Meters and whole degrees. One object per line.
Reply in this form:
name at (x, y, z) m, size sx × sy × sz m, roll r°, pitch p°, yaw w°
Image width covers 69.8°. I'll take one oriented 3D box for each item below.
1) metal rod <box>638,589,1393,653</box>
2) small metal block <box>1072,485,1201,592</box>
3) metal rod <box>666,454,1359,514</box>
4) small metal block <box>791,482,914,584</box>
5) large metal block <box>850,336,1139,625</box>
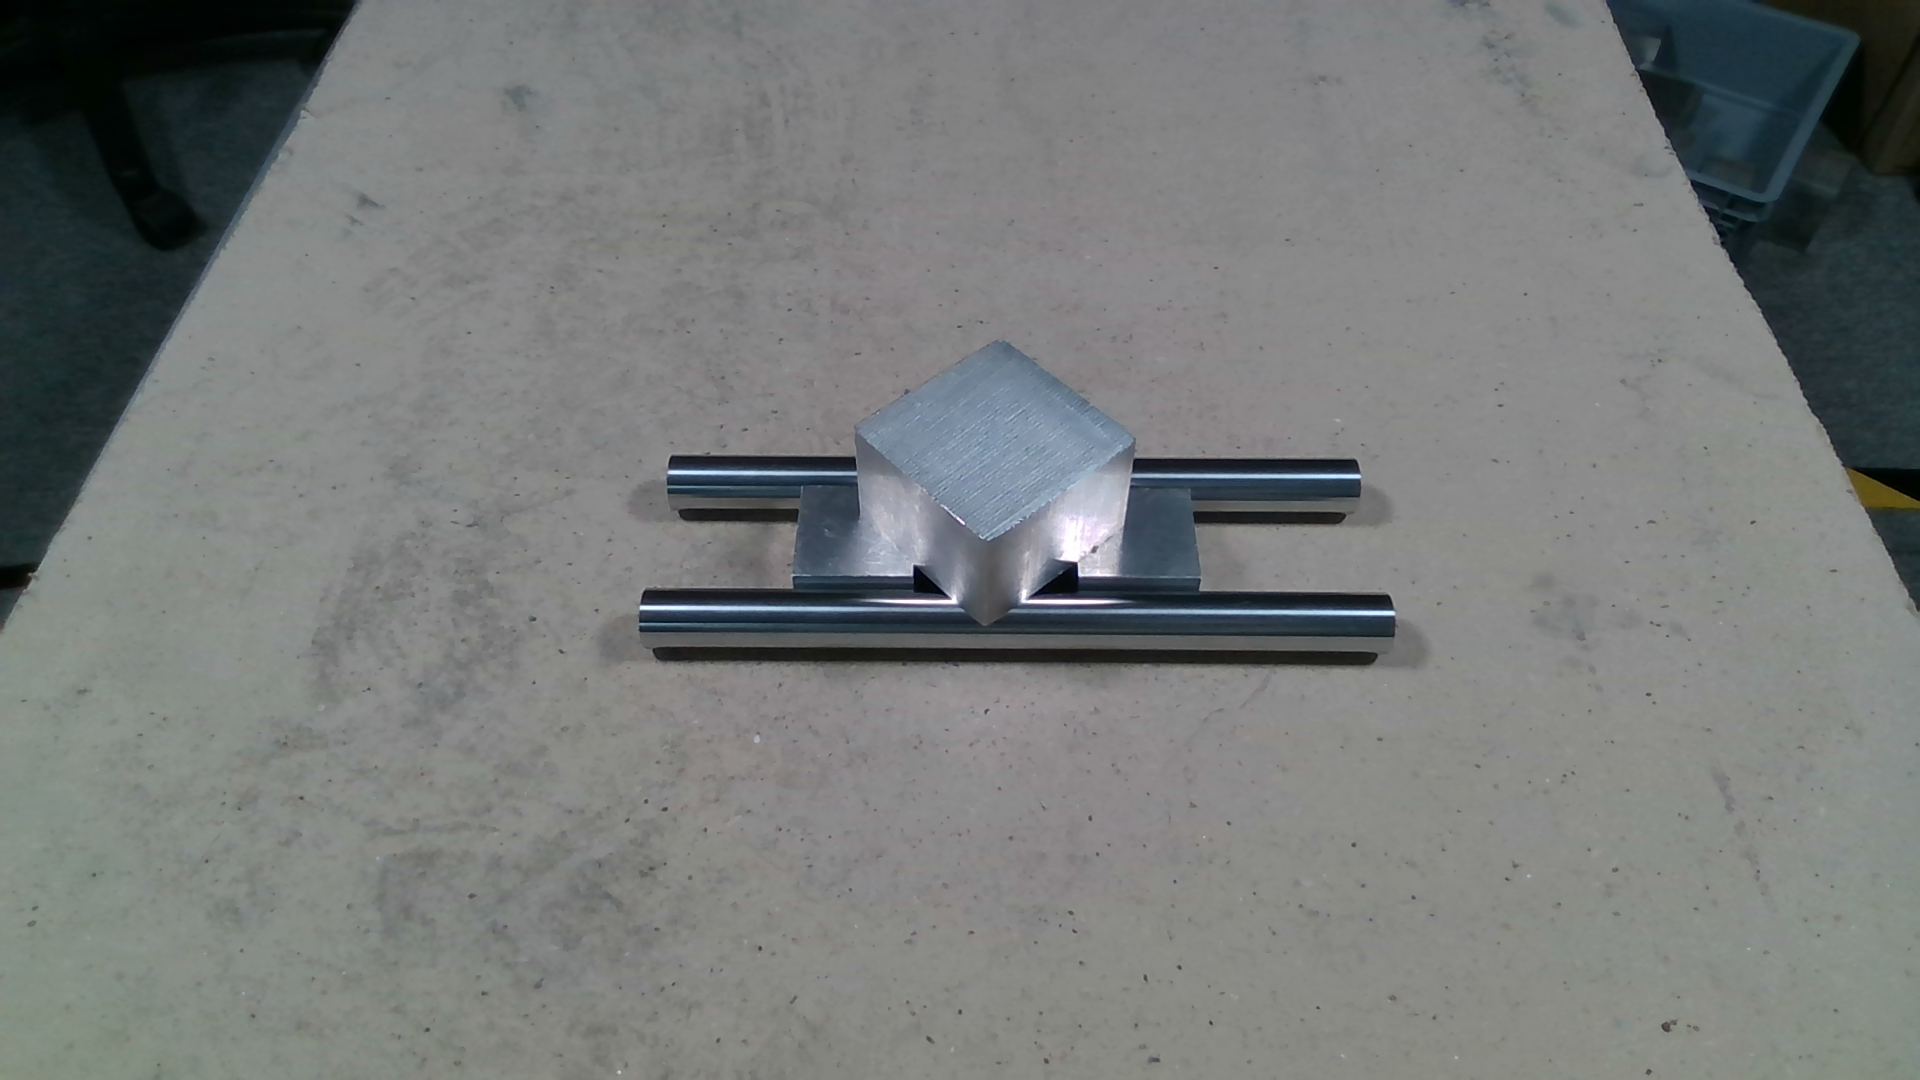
metal rod at (0.022, 0.033, 0.560) m, size 0.300 × 0.025 × 0.025 m, roll 0°, pitch 50°, yaw 0°
small metal block at (0.073, 0.003, 0.583) m, size 0.050 × 0.025 × 0.050 m, roll 0°, pitch 50°, yaw 0°
metal rod at (0.023, -0.025, 0.609) m, size 0.300 × 0.025 × 0.025 m, roll 0°, pitch 50°, yaw 0°
small metal block at (-0.043, 0.003, 0.584) m, size 0.050 × 0.025 × 0.050 m, roll 0°, pitch 50°, yaw 0°
large metal block at (0.013, -0.026, 0.557) m, size 0.080 × 0.050 × 0.080 m, roll -34°, pitch 58°, yaw -25°
